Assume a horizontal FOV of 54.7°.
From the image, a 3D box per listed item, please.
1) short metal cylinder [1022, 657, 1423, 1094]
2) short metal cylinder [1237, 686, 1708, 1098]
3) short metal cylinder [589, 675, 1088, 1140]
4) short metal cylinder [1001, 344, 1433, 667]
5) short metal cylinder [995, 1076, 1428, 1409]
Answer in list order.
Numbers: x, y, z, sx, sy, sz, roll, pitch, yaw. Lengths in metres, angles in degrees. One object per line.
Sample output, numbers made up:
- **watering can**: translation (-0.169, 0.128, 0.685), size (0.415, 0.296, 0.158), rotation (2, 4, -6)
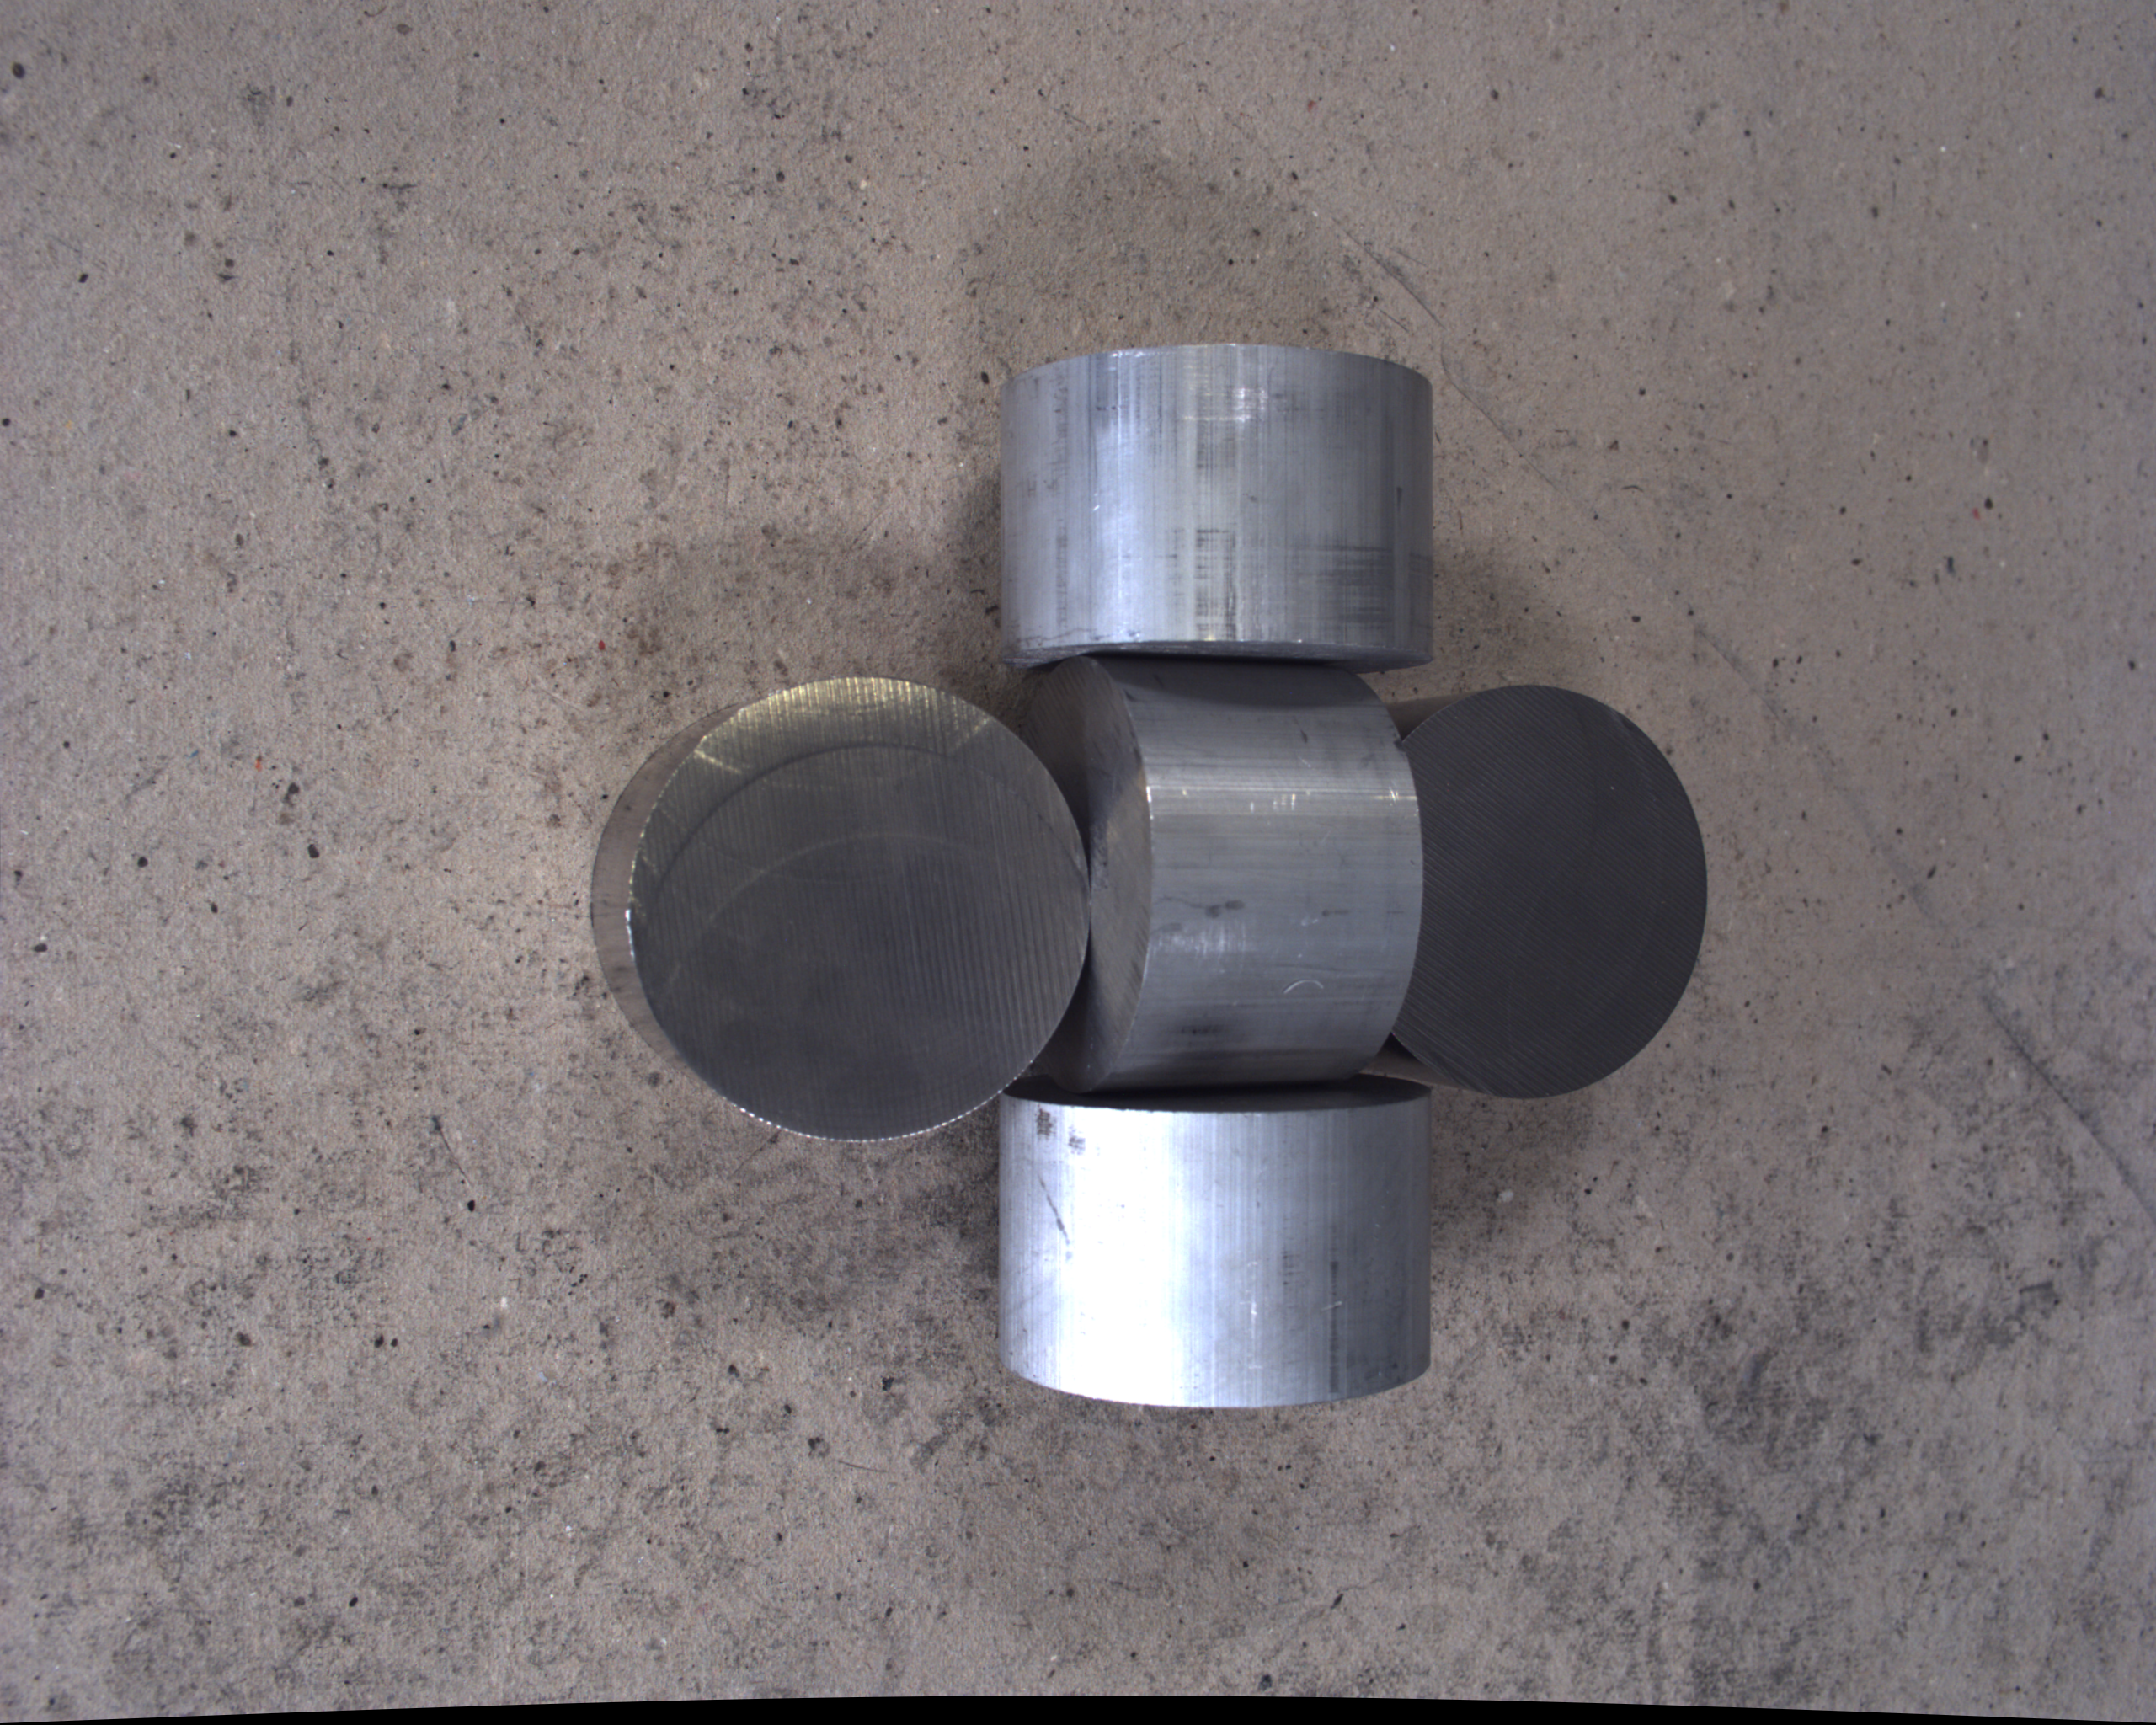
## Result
- **short metal cylinder**: translation (0.022, 0.002, 0.390), size (0.050, 0.080, 0.080), rotation (1, 90, -20)
- **short metal cylinder**: translation (0.079, 0.005, 0.426), size (0.081, 0.050, 0.080), rotation (0, 91, -20)
- **short metal cylinder**: translation (-0.045, 0.008, 0.380), size (0.081, 0.050, 0.080), rotation (0, 90, -21)
- **short metal cylinder**: translation (0.026, -0.063, 0.391), size (0.081, 0.080, 0.050), rotation (0, 90, -20)
- **short metal cylinder**: translation (0.025, 0.067, 0.391), size (0.081, 0.080, 0.050), rotation (0, 90, -20)
